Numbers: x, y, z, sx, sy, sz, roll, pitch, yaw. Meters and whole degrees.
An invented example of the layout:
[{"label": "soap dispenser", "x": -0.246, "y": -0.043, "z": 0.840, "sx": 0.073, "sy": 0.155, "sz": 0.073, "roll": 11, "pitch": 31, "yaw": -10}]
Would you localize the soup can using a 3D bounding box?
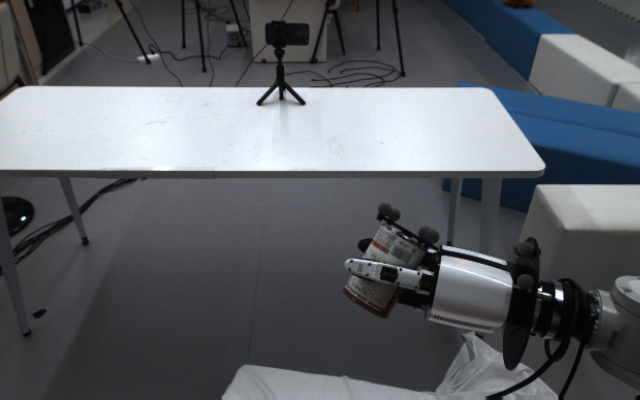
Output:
[{"label": "soup can", "x": 0.085, "y": 0.088, "z": 0.614, "sx": 0.067, "sy": 0.101, "sz": 0.067, "roll": 30, "pitch": 2, "yaw": -1}]
